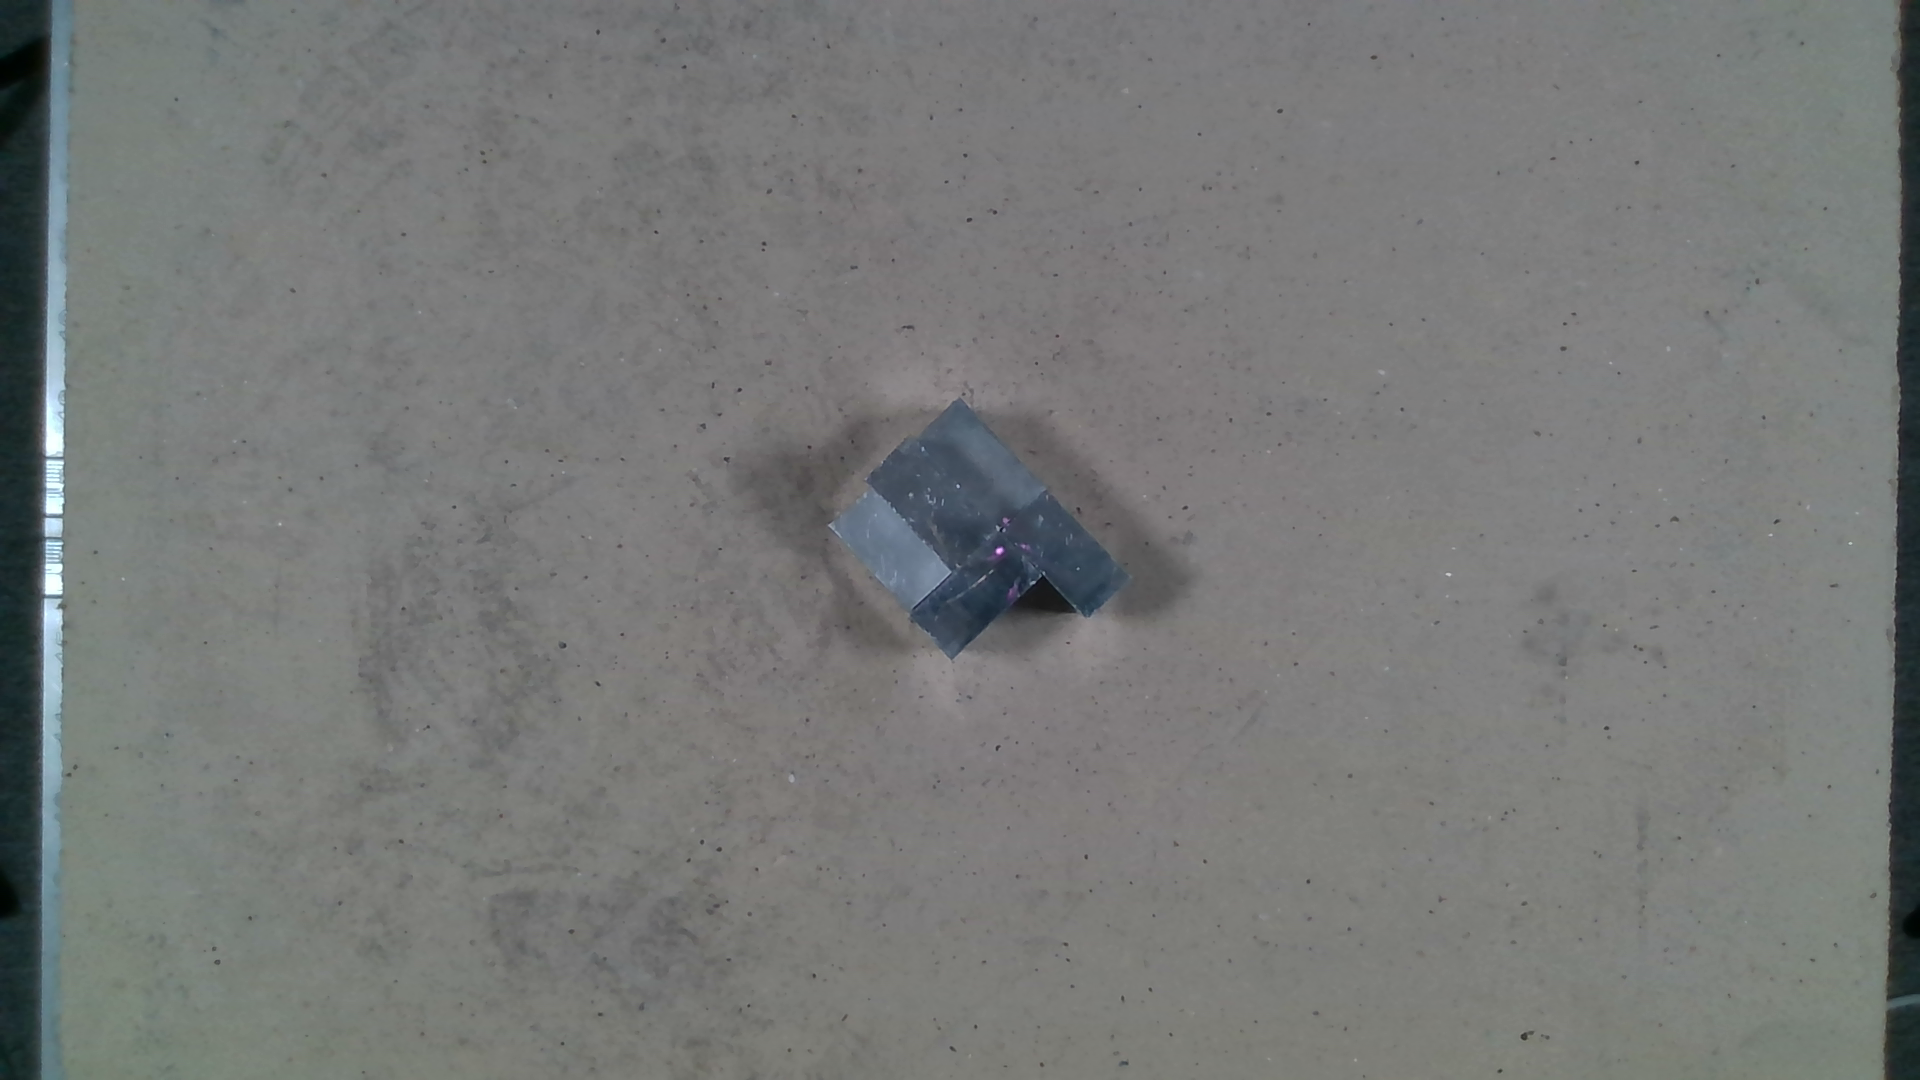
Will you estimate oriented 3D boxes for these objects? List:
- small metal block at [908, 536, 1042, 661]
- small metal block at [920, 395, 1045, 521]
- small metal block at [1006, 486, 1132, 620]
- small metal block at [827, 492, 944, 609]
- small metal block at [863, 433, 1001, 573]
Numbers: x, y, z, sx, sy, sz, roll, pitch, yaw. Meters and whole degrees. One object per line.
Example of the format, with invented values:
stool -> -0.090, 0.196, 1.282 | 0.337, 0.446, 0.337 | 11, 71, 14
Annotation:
small metal block -> 0.006, 0.022, 0.575 | 0.050, 0.050, 0.025 | -43, 90, 0
small metal block -> 0.007, -0.031, 0.574 | 0.025, 0.050, 0.050 | -44, 90, 0
small metal block -> 0.042, 0.005, 0.574 | 0.025, 0.050, 0.050 | -44, 90, 0
small metal block -> -0.020, -0.005, 0.587 | 0.050, 0.025, 0.050 | -43, 90, 0
small metal block -> -0.011, -0.014, 0.549 | 0.025, 0.050, 0.050 | -44, 90, 0
